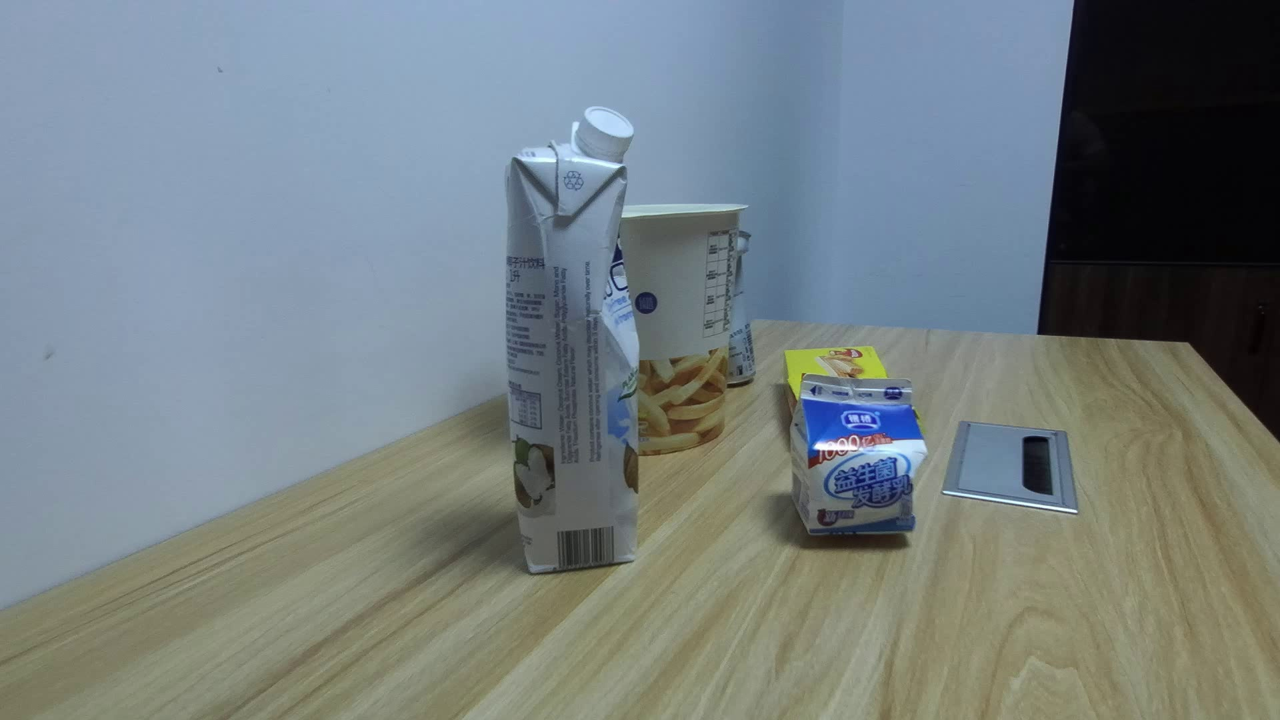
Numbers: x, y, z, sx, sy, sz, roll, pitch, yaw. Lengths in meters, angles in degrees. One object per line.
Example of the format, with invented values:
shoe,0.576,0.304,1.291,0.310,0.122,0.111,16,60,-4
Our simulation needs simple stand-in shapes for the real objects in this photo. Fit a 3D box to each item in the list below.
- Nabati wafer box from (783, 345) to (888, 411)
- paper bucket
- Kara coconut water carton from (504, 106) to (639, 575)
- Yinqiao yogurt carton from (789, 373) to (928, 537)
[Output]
Nabati wafer box,0.188,0.033,0.647,0.107,0.042,0.204,0,15,8
paper bucket,-0.001,-0.033,0.620,0.198,0.194,0.198,-1,14,1
Kara coconut water carton,-0.039,-0.009,0.409,0.078,0.255,0.083,0,14,4
Yinqiao yogurt carton,0.135,0.056,0.440,0.074,0.097,0.080,0,6,2
